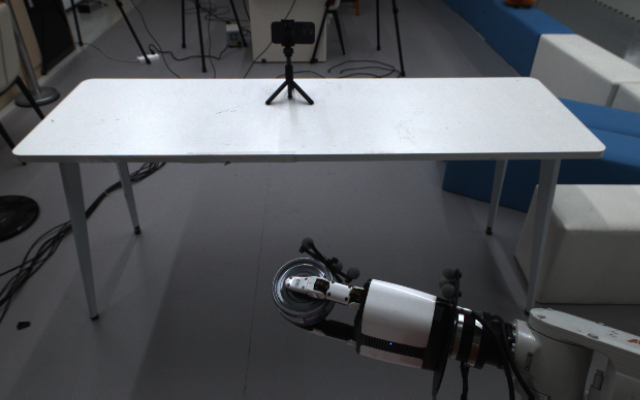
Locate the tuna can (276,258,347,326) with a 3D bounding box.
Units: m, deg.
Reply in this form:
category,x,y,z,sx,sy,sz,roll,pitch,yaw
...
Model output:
category,x,y,z,sx,sy,sz,roll,pitch,yaw
tuna can,-0.017,0.128,0.645,0.085,0.034,0.085,-4,57,6
